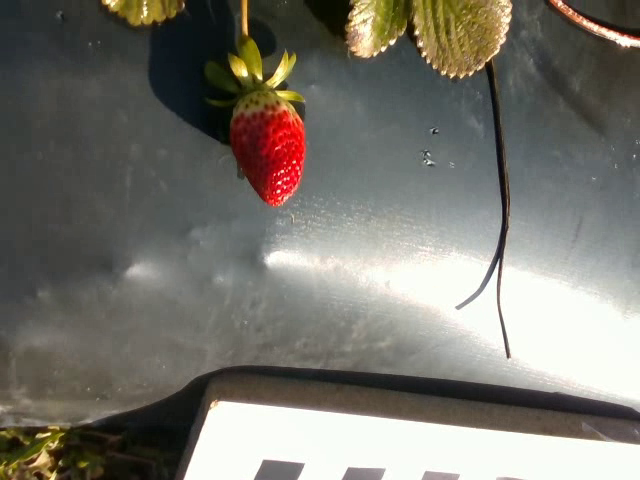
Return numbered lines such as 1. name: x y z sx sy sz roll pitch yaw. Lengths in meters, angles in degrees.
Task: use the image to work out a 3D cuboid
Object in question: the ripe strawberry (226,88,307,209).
1. ripe strawberry: -0.016 -0.026 0.185 0.028 0.041 0.031 -10 -20 -2
